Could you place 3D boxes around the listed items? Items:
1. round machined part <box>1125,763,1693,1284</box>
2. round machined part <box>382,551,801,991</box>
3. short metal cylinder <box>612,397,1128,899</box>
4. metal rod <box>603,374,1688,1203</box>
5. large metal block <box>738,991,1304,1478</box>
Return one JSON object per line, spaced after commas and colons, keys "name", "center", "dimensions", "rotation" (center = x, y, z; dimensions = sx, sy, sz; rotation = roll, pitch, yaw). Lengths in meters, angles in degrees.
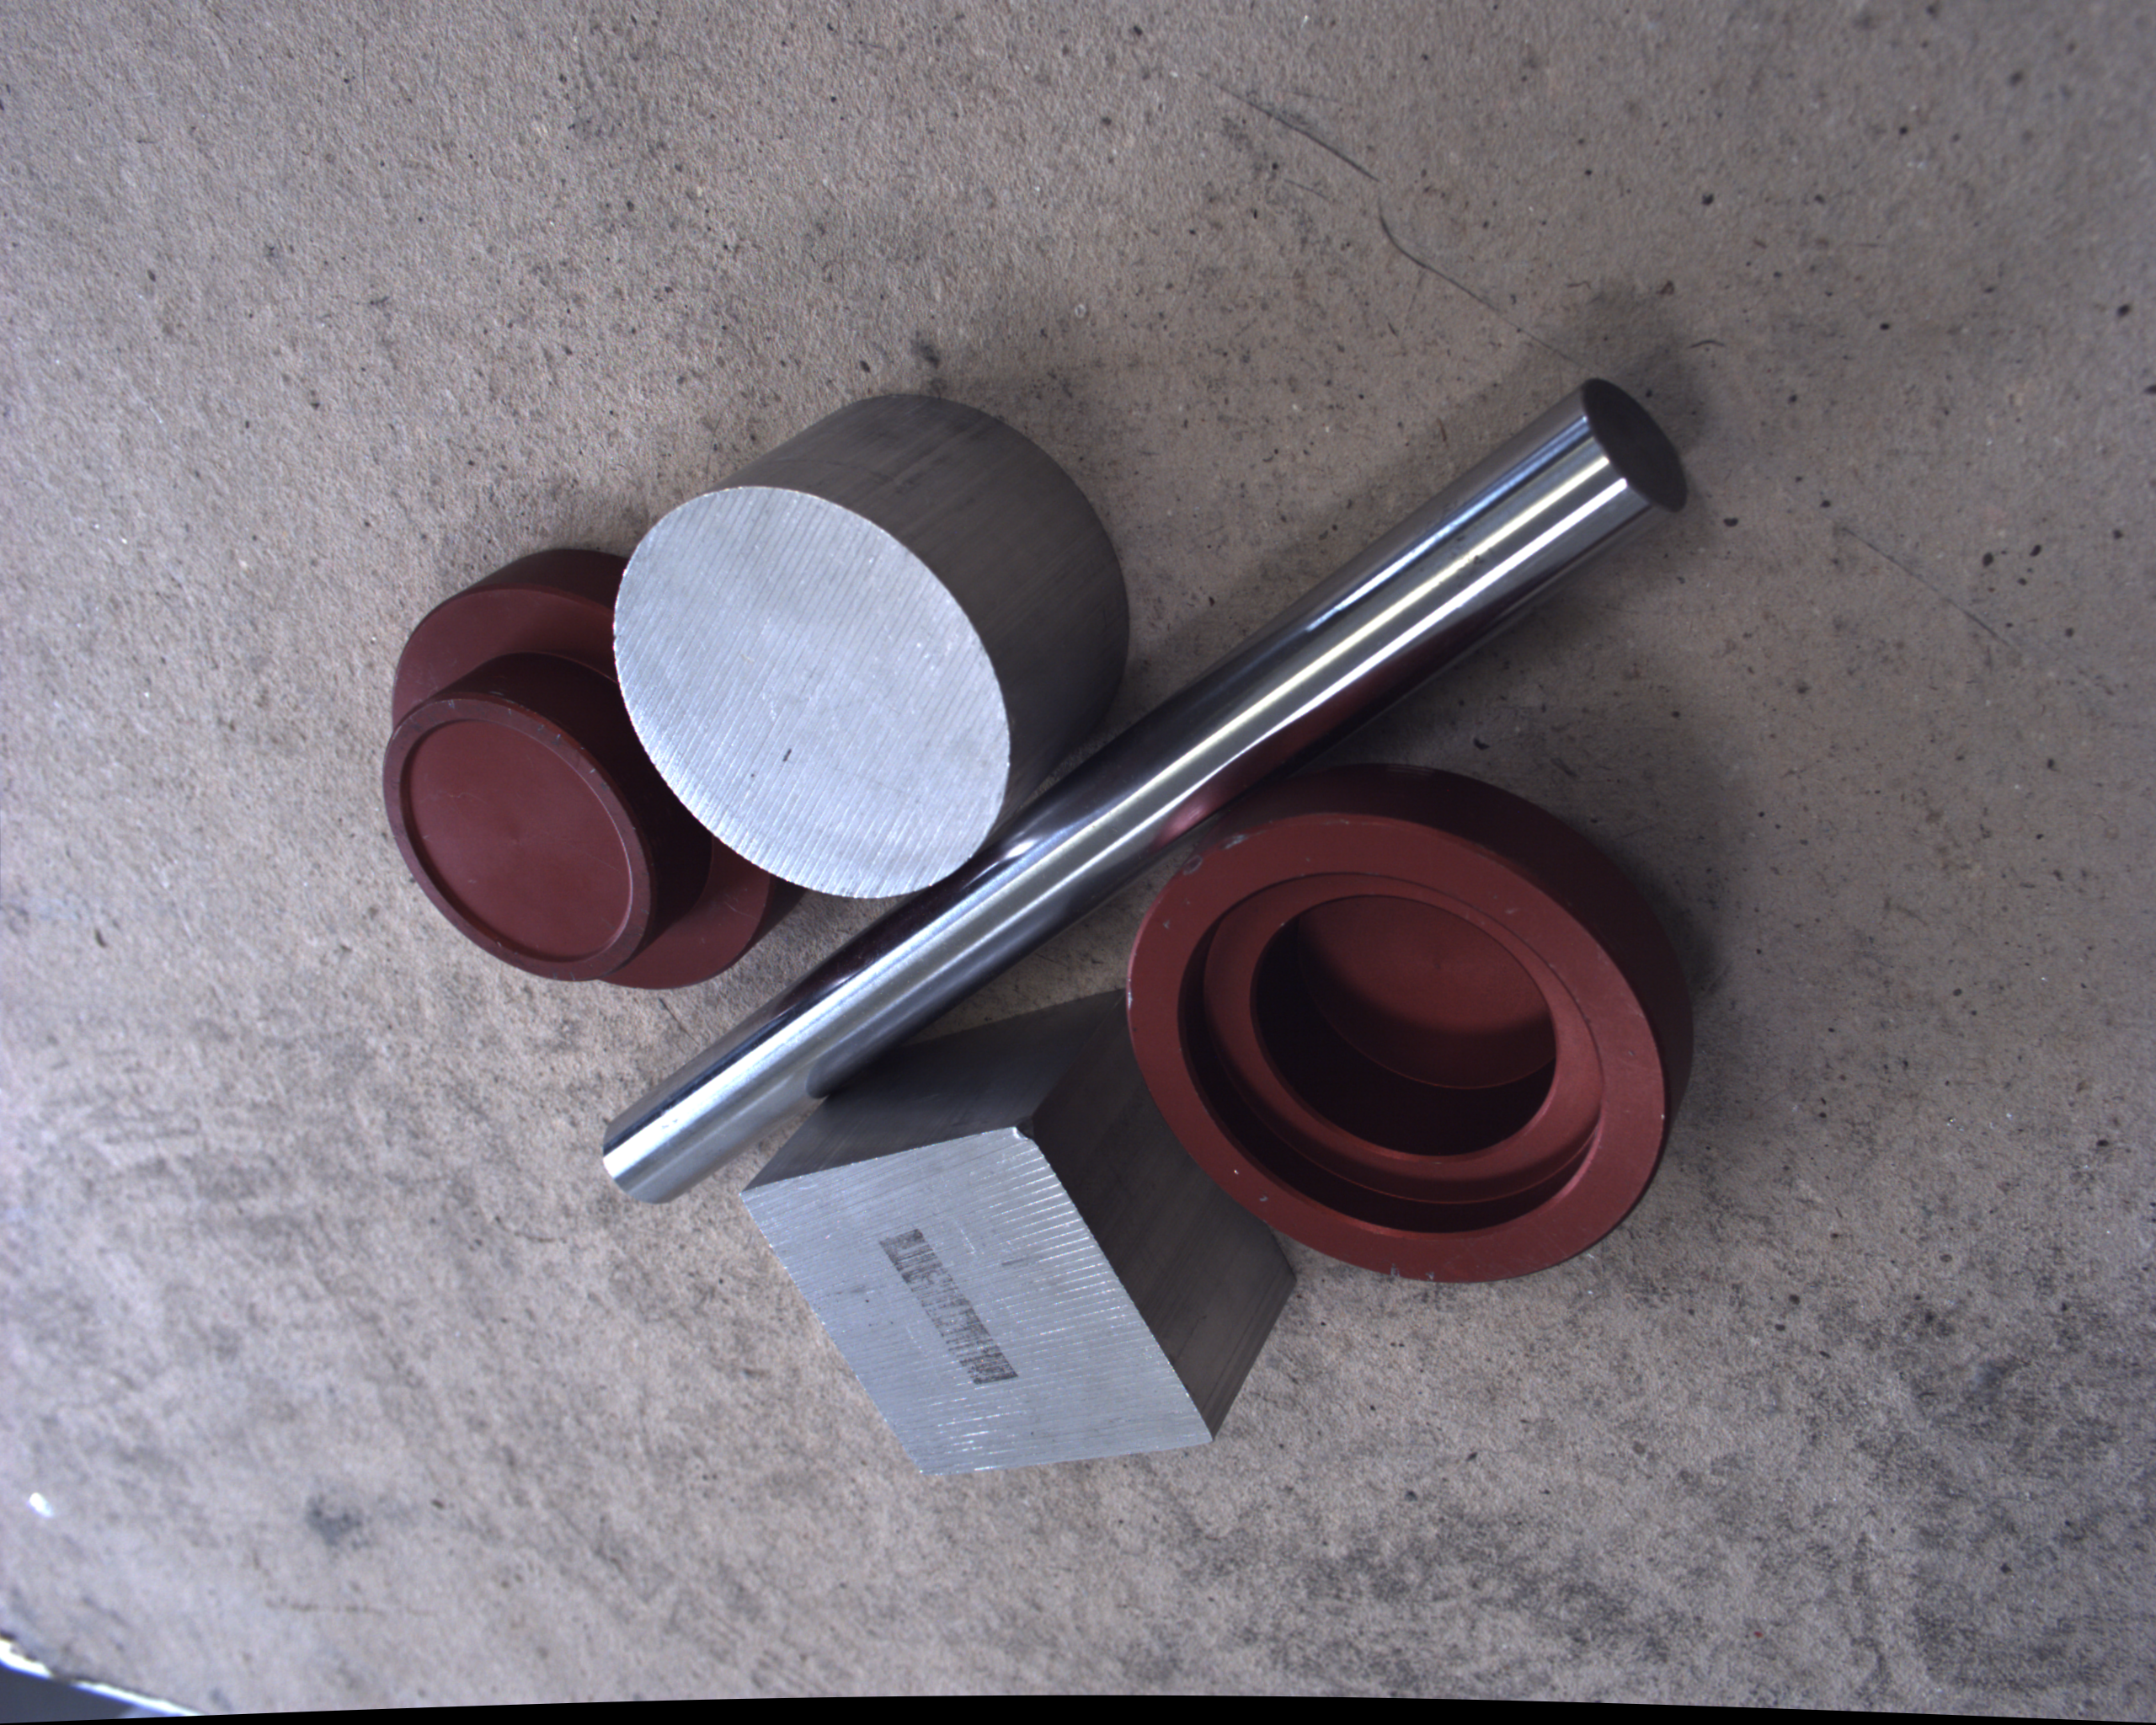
{"name": "round machined part", "center": [0.062, 0.025, 0.380], "dimensions": [0.098, 0.042, 0.097], "rotation": [13, 124, 21]}
{"name": "round machined part", "center": [-0.107, -0.013, 0.445], "dimensions": [0.098, 0.042, 0.097], "rotation": [13, 124, 21]}
{"name": "short metal cylinder", "center": [-0.038, -0.040, 0.387], "dimensions": [0.080, 0.050, 0.079], "rotation": [13, 124, 21]}
{"name": "metal rod", "center": [-0.009, 0.003, 0.416], "dimensions": [0.025, 0.025, 0.299], "rotation": [49, 128, -7]}
{"name": "large metal block", "center": [-0.011, 0.081, 0.449], "dimensions": [0.080, 0.050, 0.080], "rotation": [-18, 109, 35]}
